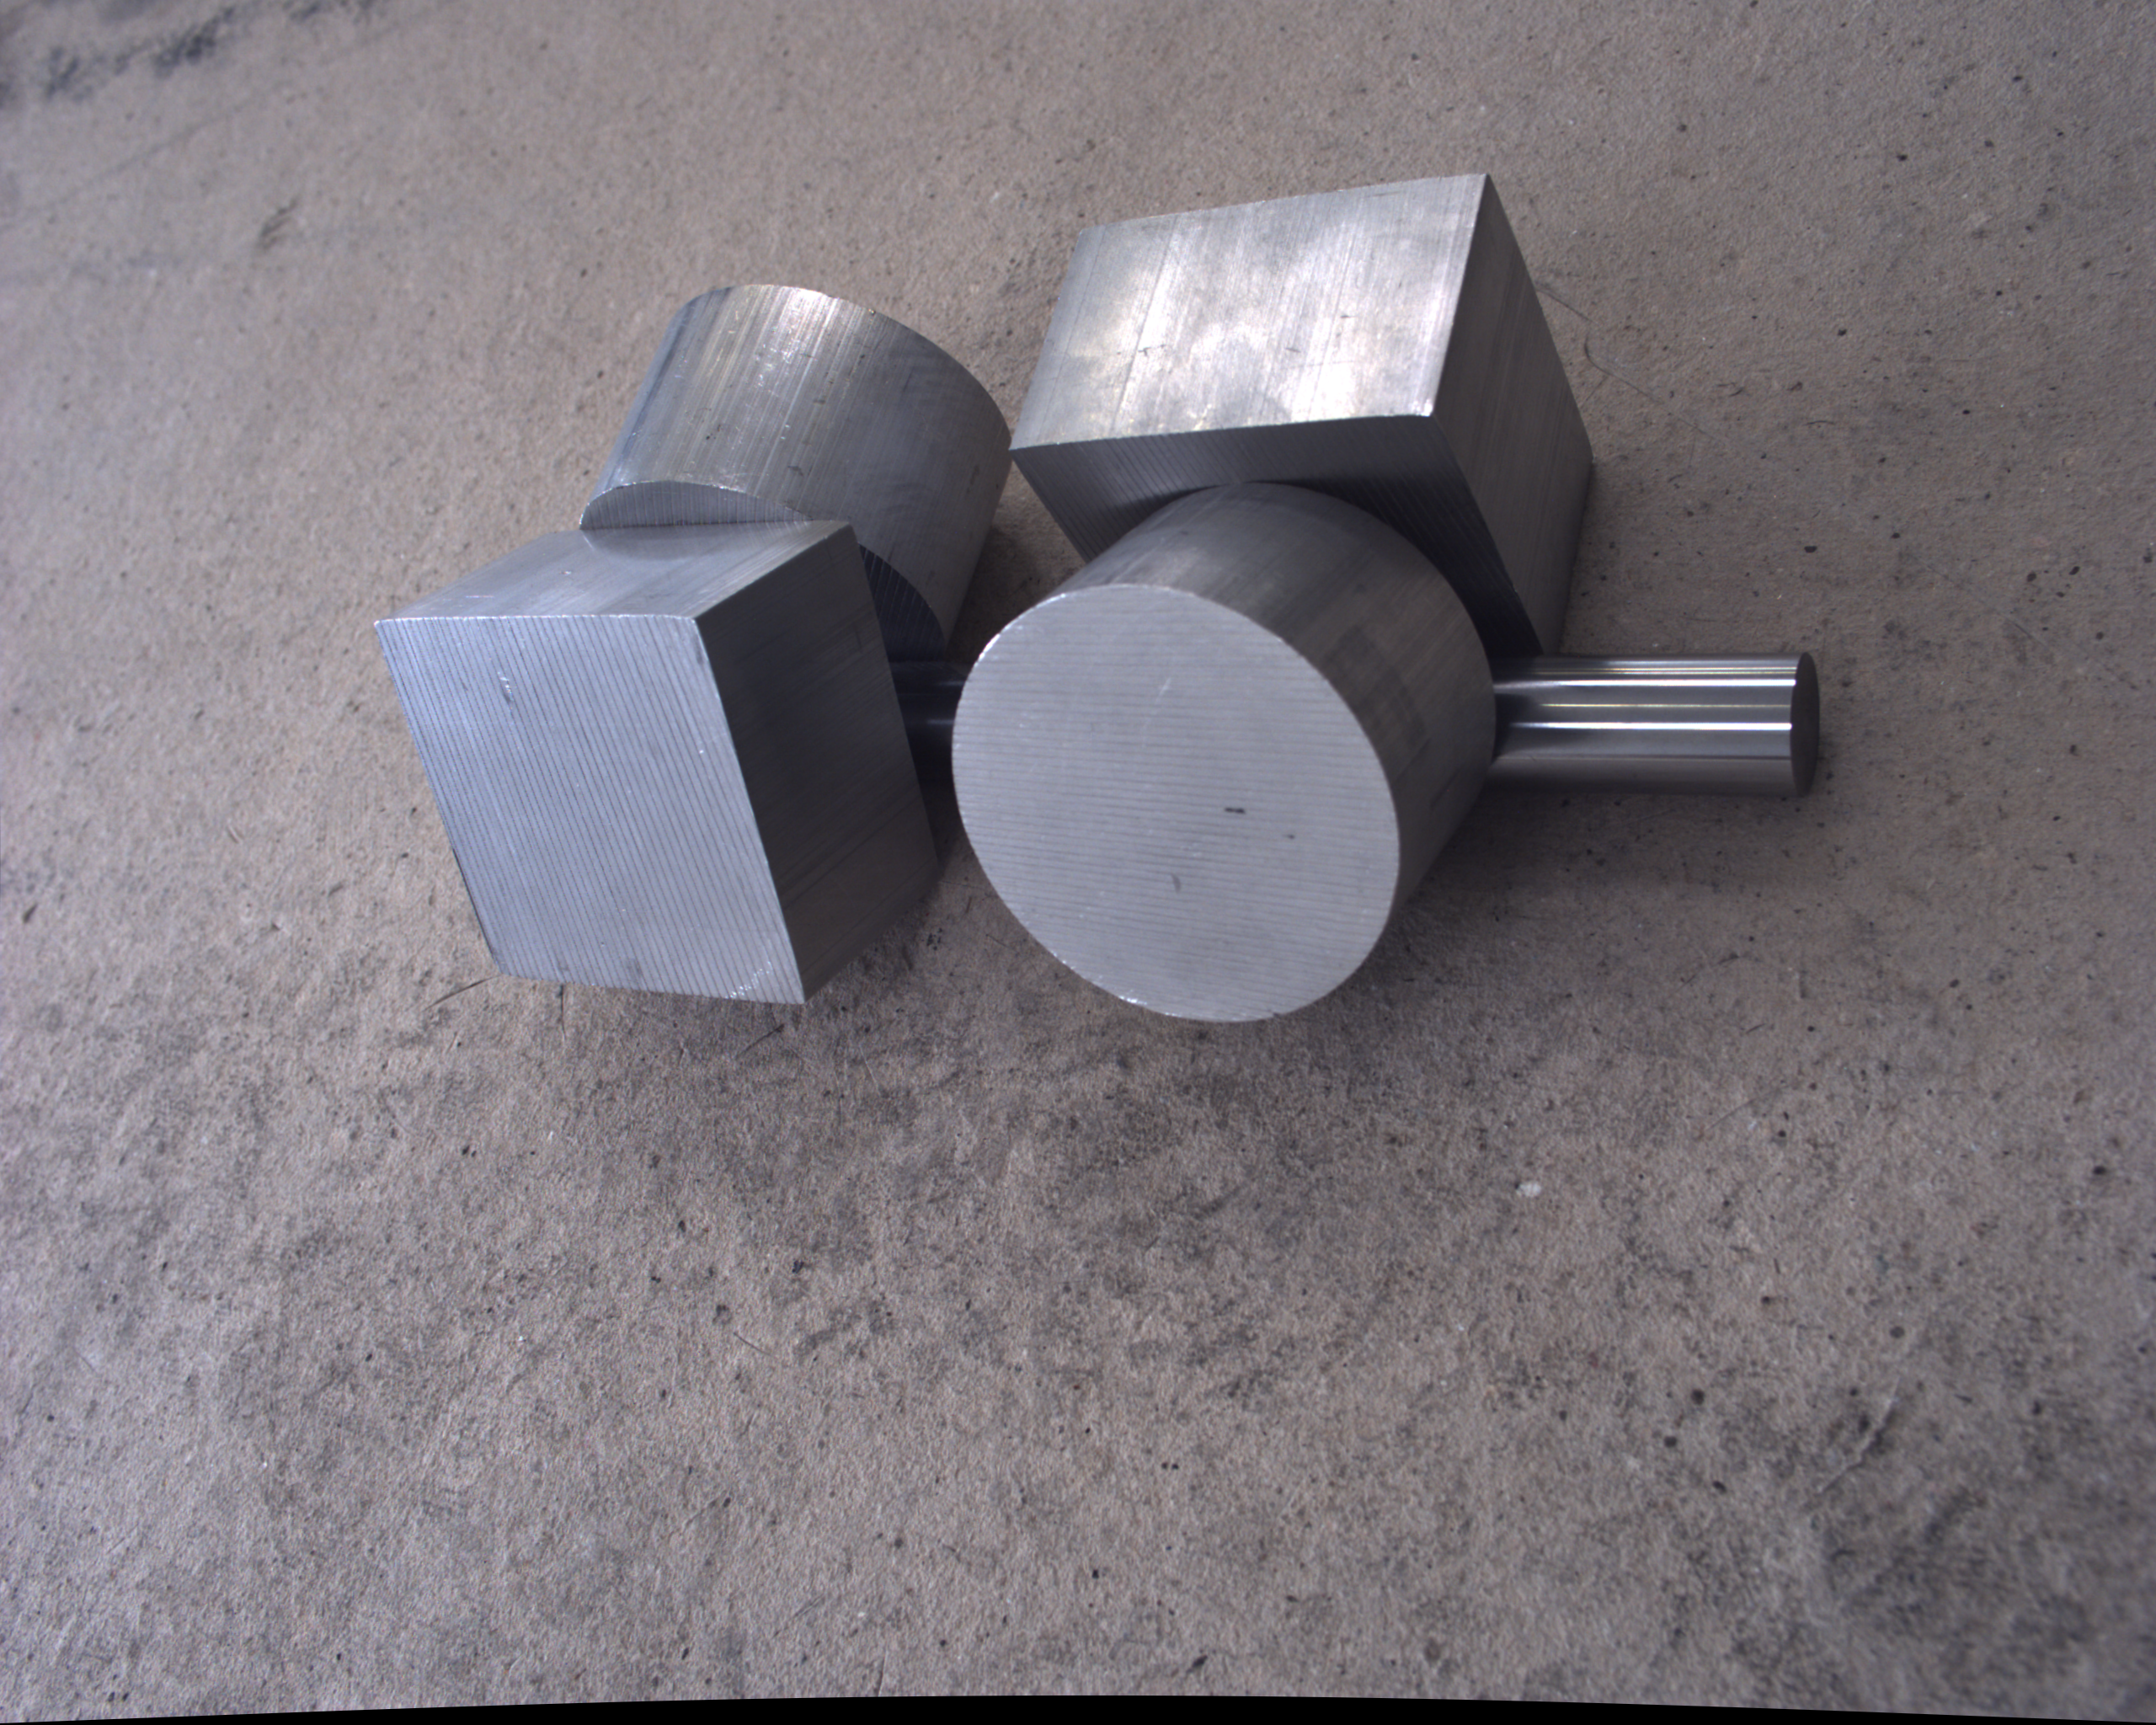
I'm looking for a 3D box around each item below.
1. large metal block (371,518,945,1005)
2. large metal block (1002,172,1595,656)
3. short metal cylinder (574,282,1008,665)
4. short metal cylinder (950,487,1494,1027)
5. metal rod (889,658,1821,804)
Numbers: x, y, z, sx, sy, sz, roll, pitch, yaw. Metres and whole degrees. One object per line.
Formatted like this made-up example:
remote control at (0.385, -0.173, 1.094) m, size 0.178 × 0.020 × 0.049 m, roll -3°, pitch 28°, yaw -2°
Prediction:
large metal block at (-0.082, -0.021, 0.418) m, size 0.080 × 0.080 × 0.050 m, roll 3°, pitch 29°, yaw 29°
large metal block at (0.045, -0.077, 0.393) m, size 0.080 × 0.080 × 0.050 m, roll 2°, pitch 63°, yaw 29°
short metal cylinder at (-0.061, -0.078, 0.449) m, size 0.080 × 0.080 × 0.050 m, roll 4°, pitch 64°, yaw 30°
short metal cylinder at (0.025, -0.019, 0.360) m, size 0.080 × 0.080 × 0.050 m, roll 2°, pitch 28°, yaw 29°
metal rod at (-0.007, -0.028, 0.428) m, size 0.300 × 0.025 × 0.025 m, roll 3°, pitch 63°, yaw 29°
